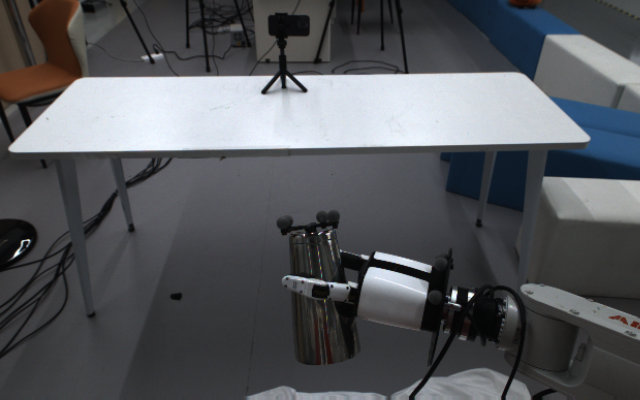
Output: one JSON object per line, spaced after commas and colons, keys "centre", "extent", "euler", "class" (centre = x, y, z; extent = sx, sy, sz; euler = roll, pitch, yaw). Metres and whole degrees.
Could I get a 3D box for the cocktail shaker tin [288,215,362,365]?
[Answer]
{"centre": [0.000, 0.129, 0.671], "extent": [0.093, 0.170, 0.093], "euler": [-8, 1, 0], "class": "cocktail shaker tin"}
